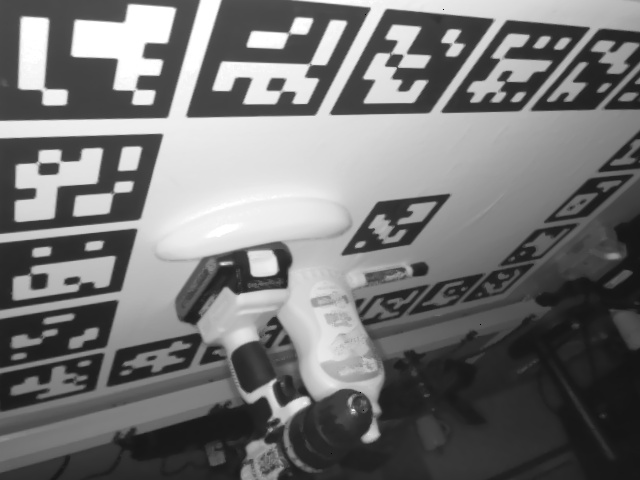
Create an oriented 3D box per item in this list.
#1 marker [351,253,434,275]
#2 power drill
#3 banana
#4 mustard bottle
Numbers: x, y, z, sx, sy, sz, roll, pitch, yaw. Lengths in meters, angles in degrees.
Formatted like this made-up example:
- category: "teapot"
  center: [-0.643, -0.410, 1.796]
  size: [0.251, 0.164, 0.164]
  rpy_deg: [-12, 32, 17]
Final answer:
- category: "marker"
  center: [0.093, 0.029, 0.857]
  size: [0.123, 0.019, 0.019]
  rpy_deg: [-4, 142, -33]
- category: "power drill"
  center: [-0.044, 0.081, 0.632]
  size: [0.058, 0.187, 0.181]
  rpy_deg: [8, 138, -40]
- category: "banana"
  center: [-0.040, -0.049, 0.627]
  size: [0.200, 0.039, 0.073]
  rpy_deg: [-1, 139, -39]
- category: "mustard bottle"
  center: [0.019, 0.100, 0.740]
  size: [0.098, 0.191, 0.057]
  rpy_deg: [4, 138, -39]
